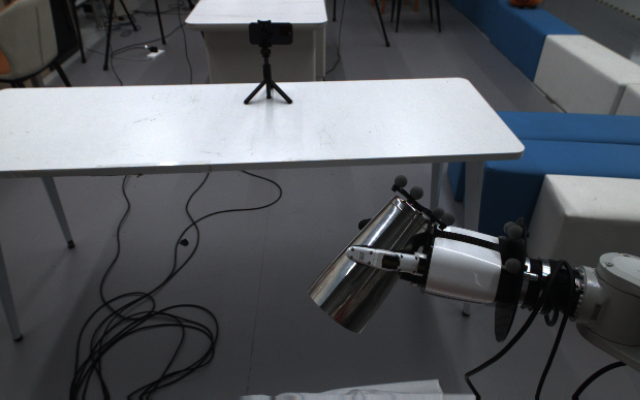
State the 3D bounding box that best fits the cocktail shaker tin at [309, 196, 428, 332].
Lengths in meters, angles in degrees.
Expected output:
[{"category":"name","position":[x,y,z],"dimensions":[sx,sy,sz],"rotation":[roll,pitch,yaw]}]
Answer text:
[{"category":"cocktail shaker tin","position":[0.073,0.077,0.643],"dimensions":[0.170,0.093,0.093],"rotation":[-50,46,4]}]
